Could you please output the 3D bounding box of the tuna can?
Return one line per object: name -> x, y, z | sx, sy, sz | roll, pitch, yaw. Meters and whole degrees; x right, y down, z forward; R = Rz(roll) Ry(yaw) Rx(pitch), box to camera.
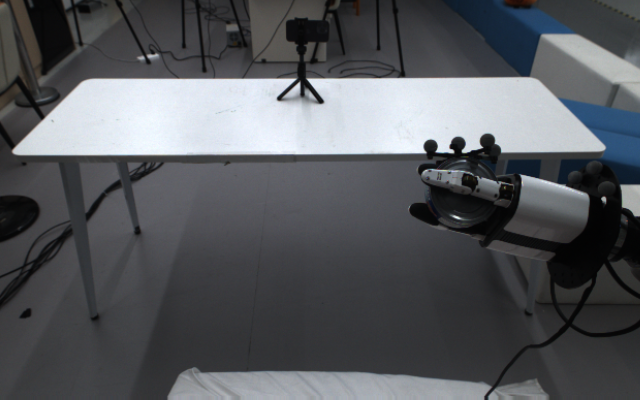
tuna can -> 0.177, -0.011, 0.601 | 0.085, 0.034, 0.085 | 0, 74, 1
